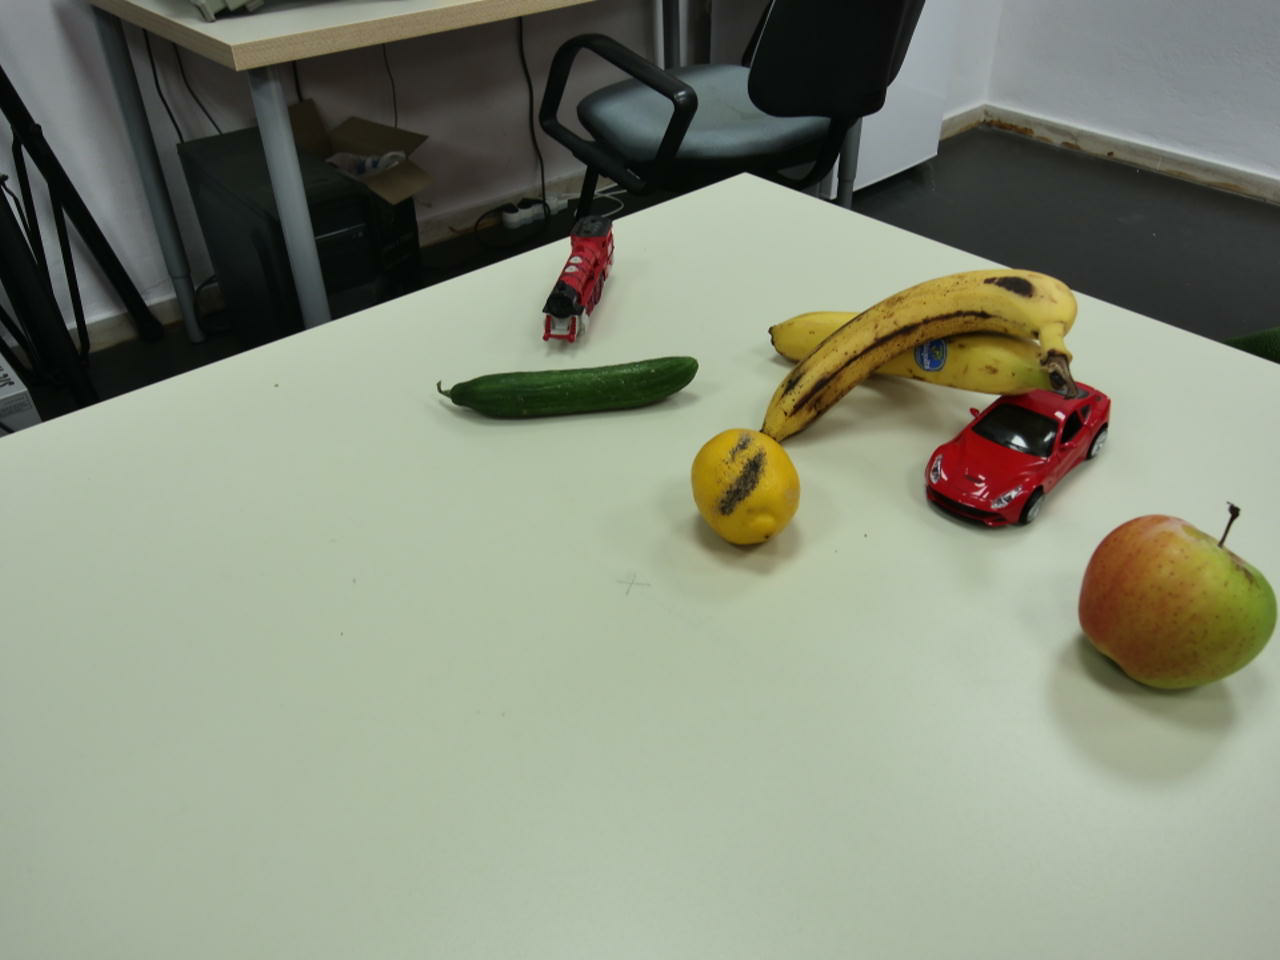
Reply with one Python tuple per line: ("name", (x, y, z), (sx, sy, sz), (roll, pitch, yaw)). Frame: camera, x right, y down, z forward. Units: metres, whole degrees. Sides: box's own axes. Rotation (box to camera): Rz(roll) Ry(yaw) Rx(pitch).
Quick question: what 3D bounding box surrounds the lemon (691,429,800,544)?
("lemon", (0.056, 0.003, 0.528), (0.061, 0.056, 0.058), (28, 45, 33))
